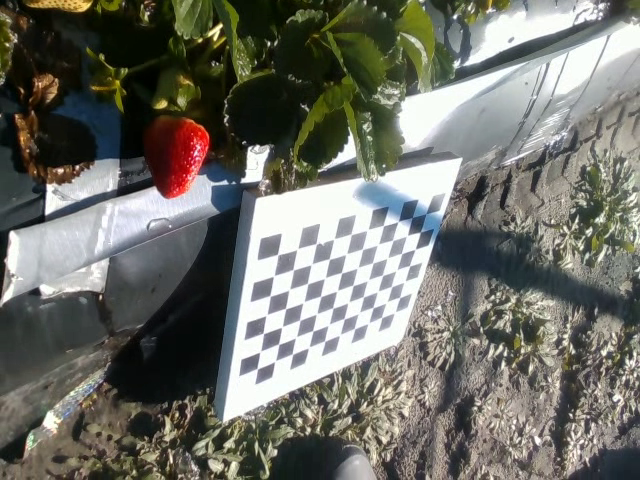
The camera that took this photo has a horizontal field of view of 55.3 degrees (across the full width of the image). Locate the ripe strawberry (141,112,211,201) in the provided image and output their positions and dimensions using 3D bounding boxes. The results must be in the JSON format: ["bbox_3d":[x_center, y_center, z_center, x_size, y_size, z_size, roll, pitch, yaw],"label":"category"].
[{"bbox_3d":[-0.110,-0.060,0.477,0.057,0.065,0.061,-14,-22,28],"label":"ripe strawberry"}]
